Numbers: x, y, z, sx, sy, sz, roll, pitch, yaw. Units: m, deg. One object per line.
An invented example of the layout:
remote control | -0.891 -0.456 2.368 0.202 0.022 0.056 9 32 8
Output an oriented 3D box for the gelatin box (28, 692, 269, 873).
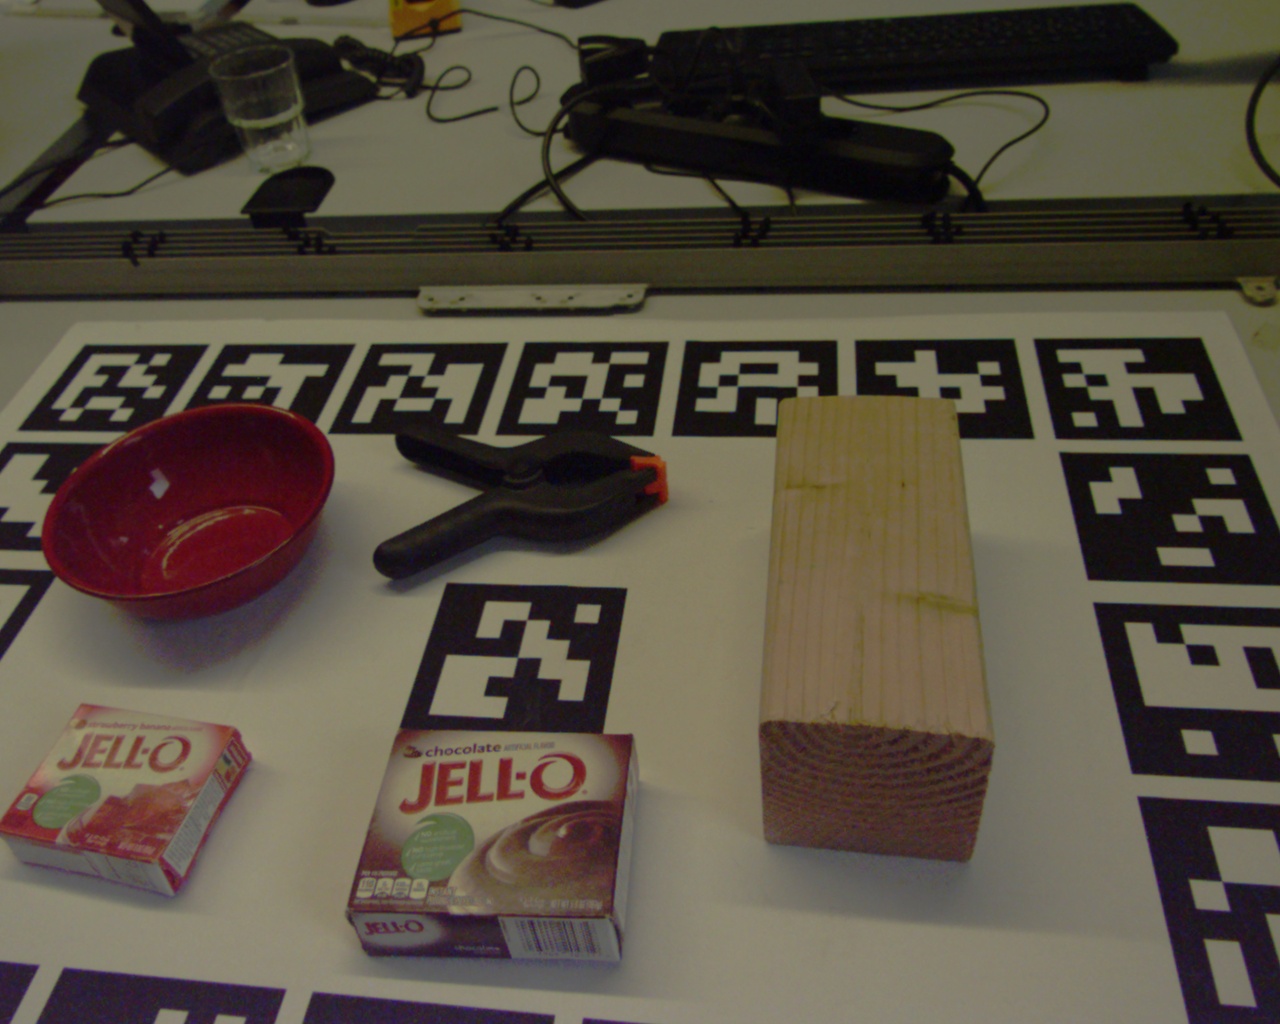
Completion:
gelatin box | -0.242 0.131 0.564 0.090 0.030 0.073 7 47 14

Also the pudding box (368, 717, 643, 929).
pudding box | -0.058 0.141 0.524 0.114 0.038 0.090 -1 48 10

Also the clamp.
clamp | -0.083 -0.012 0.697 0.165 0.036 0.122 -6 44 0

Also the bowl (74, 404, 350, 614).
bowl | -0.248 0.007 0.685 0.162 0.055 0.162 -4 47 3

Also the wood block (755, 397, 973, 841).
wood block | 0.109 0.044 0.562 0.090 0.090 0.206 3 45 9
